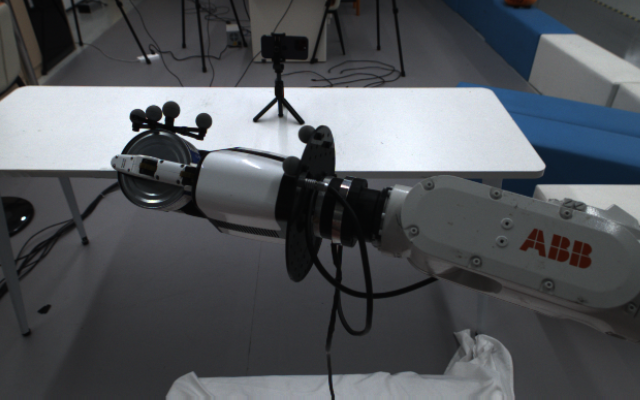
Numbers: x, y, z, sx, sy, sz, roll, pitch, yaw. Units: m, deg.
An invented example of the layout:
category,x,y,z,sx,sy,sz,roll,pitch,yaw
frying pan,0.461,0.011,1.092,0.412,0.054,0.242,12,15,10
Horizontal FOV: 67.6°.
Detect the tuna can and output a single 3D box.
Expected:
category,x,y,z,sx,sy,sz,roll,pitch,yaw
tuna can,-0.170,-0.031,0.523,0.085,0.085,0.034,11,-6,13
